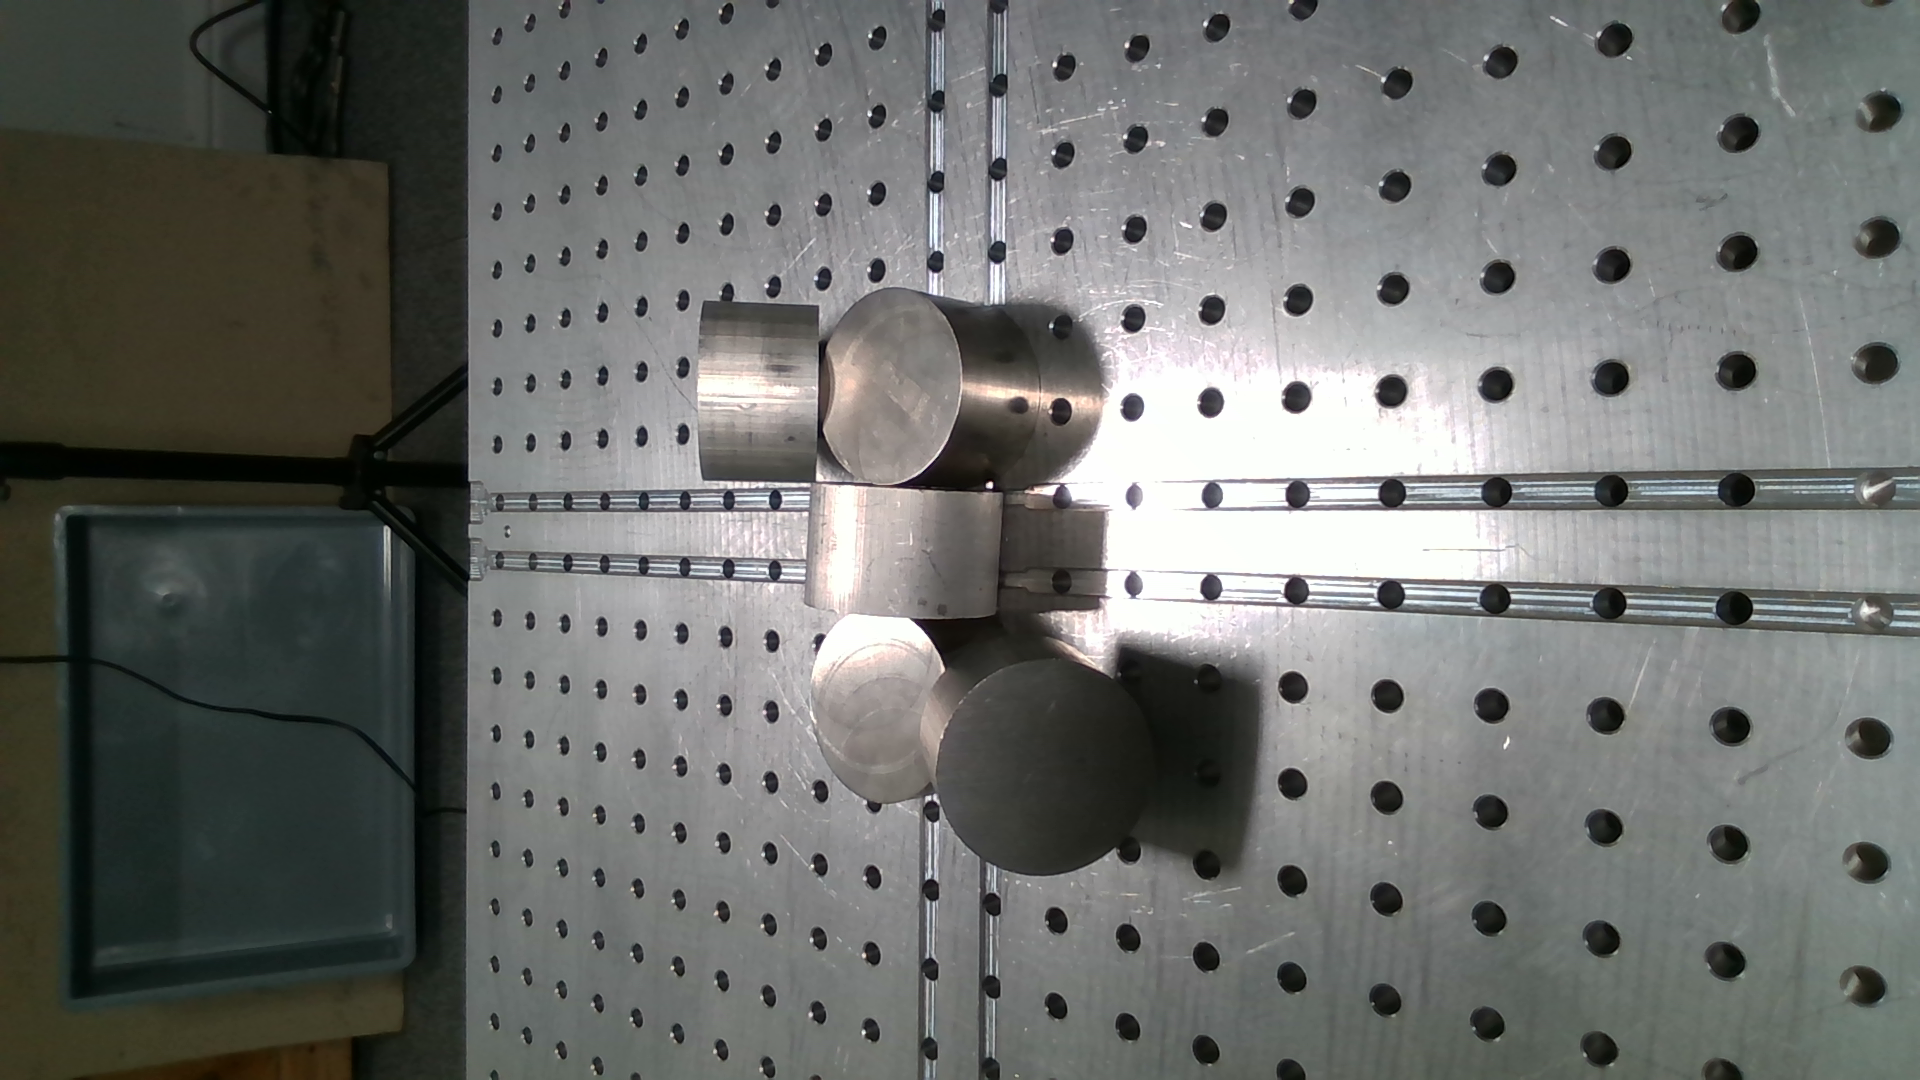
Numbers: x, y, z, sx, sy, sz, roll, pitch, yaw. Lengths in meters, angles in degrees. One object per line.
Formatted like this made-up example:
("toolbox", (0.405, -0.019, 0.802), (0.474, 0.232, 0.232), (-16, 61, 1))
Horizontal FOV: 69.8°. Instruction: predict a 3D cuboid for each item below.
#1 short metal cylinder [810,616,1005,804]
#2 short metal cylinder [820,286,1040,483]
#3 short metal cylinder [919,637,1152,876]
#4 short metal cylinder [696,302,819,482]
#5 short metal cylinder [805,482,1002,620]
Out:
("short metal cylinder", (-0.018, 0.068, 0.584), (0.080, 0.050, 0.080), (0, 91, 40))
("short metal cylinder", (-0.014, -0.063, 0.579), (0.080, 0.050, 0.080), (0, 91, 40))
("short metal cylinder", (0.027, 0.079, 0.519), (0.050, 0.080, 0.080), (-139, 55, -80))
("short metal cylinder", (-0.089, -0.066, 0.616), (0.080, 0.050, 0.080), (179, 92, -84))
("short metal cylinder", (-0.024, 0.003, 0.569), (0.080, 0.080, 0.050), (6, 94, 40))
